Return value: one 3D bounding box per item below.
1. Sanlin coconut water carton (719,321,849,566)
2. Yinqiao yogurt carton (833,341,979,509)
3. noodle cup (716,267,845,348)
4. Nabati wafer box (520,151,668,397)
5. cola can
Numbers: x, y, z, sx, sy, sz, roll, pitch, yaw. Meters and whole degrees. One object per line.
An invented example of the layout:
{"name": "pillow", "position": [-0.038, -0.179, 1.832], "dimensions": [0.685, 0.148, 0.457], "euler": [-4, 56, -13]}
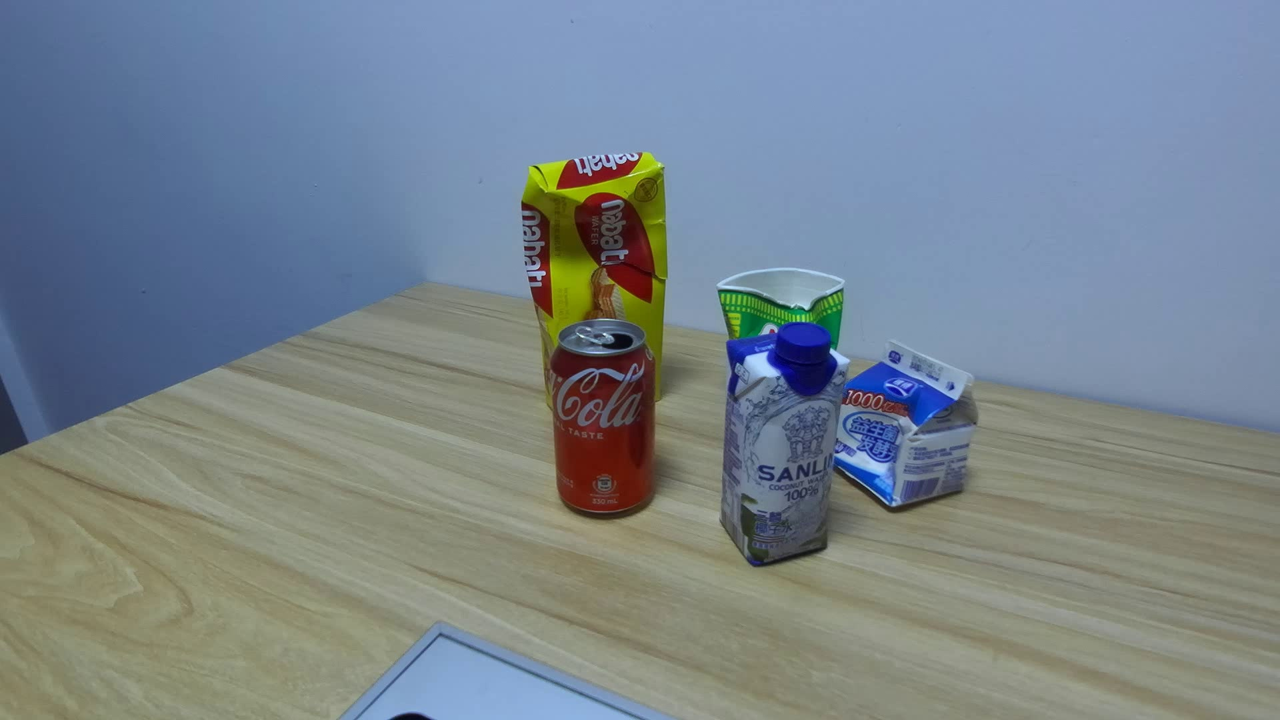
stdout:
{"name": "Sanlin coconut water carton", "position": [0.082, 0.045, 0.411], "dimensions": [0.061, 0.144, 0.060], "euler": [-9, 26, -18]}
{"name": "Yinqiao yogurt carton", "position": [0.183, 0.040, 0.484], "dimensions": [0.071, 0.094, 0.077], "euler": [-6, 26, -27]}
{"name": "noodle cup", "position": [0.118, -0.010, 0.570], "dimensions": [0.082, 0.122, 0.075], "euler": [5, 16, 33]}
{"name": "Nabati wafer box", "position": [-0.034, -0.055, 0.554], "dimensions": [0.107, 0.204, 0.042], "euler": [-10, 29, -21]}
{"name": "cola can", "position": [-0.023, 0.036, 0.461], "dimensions": [0.068, 0.120, 0.068], "euler": [1, 28, 0]}
